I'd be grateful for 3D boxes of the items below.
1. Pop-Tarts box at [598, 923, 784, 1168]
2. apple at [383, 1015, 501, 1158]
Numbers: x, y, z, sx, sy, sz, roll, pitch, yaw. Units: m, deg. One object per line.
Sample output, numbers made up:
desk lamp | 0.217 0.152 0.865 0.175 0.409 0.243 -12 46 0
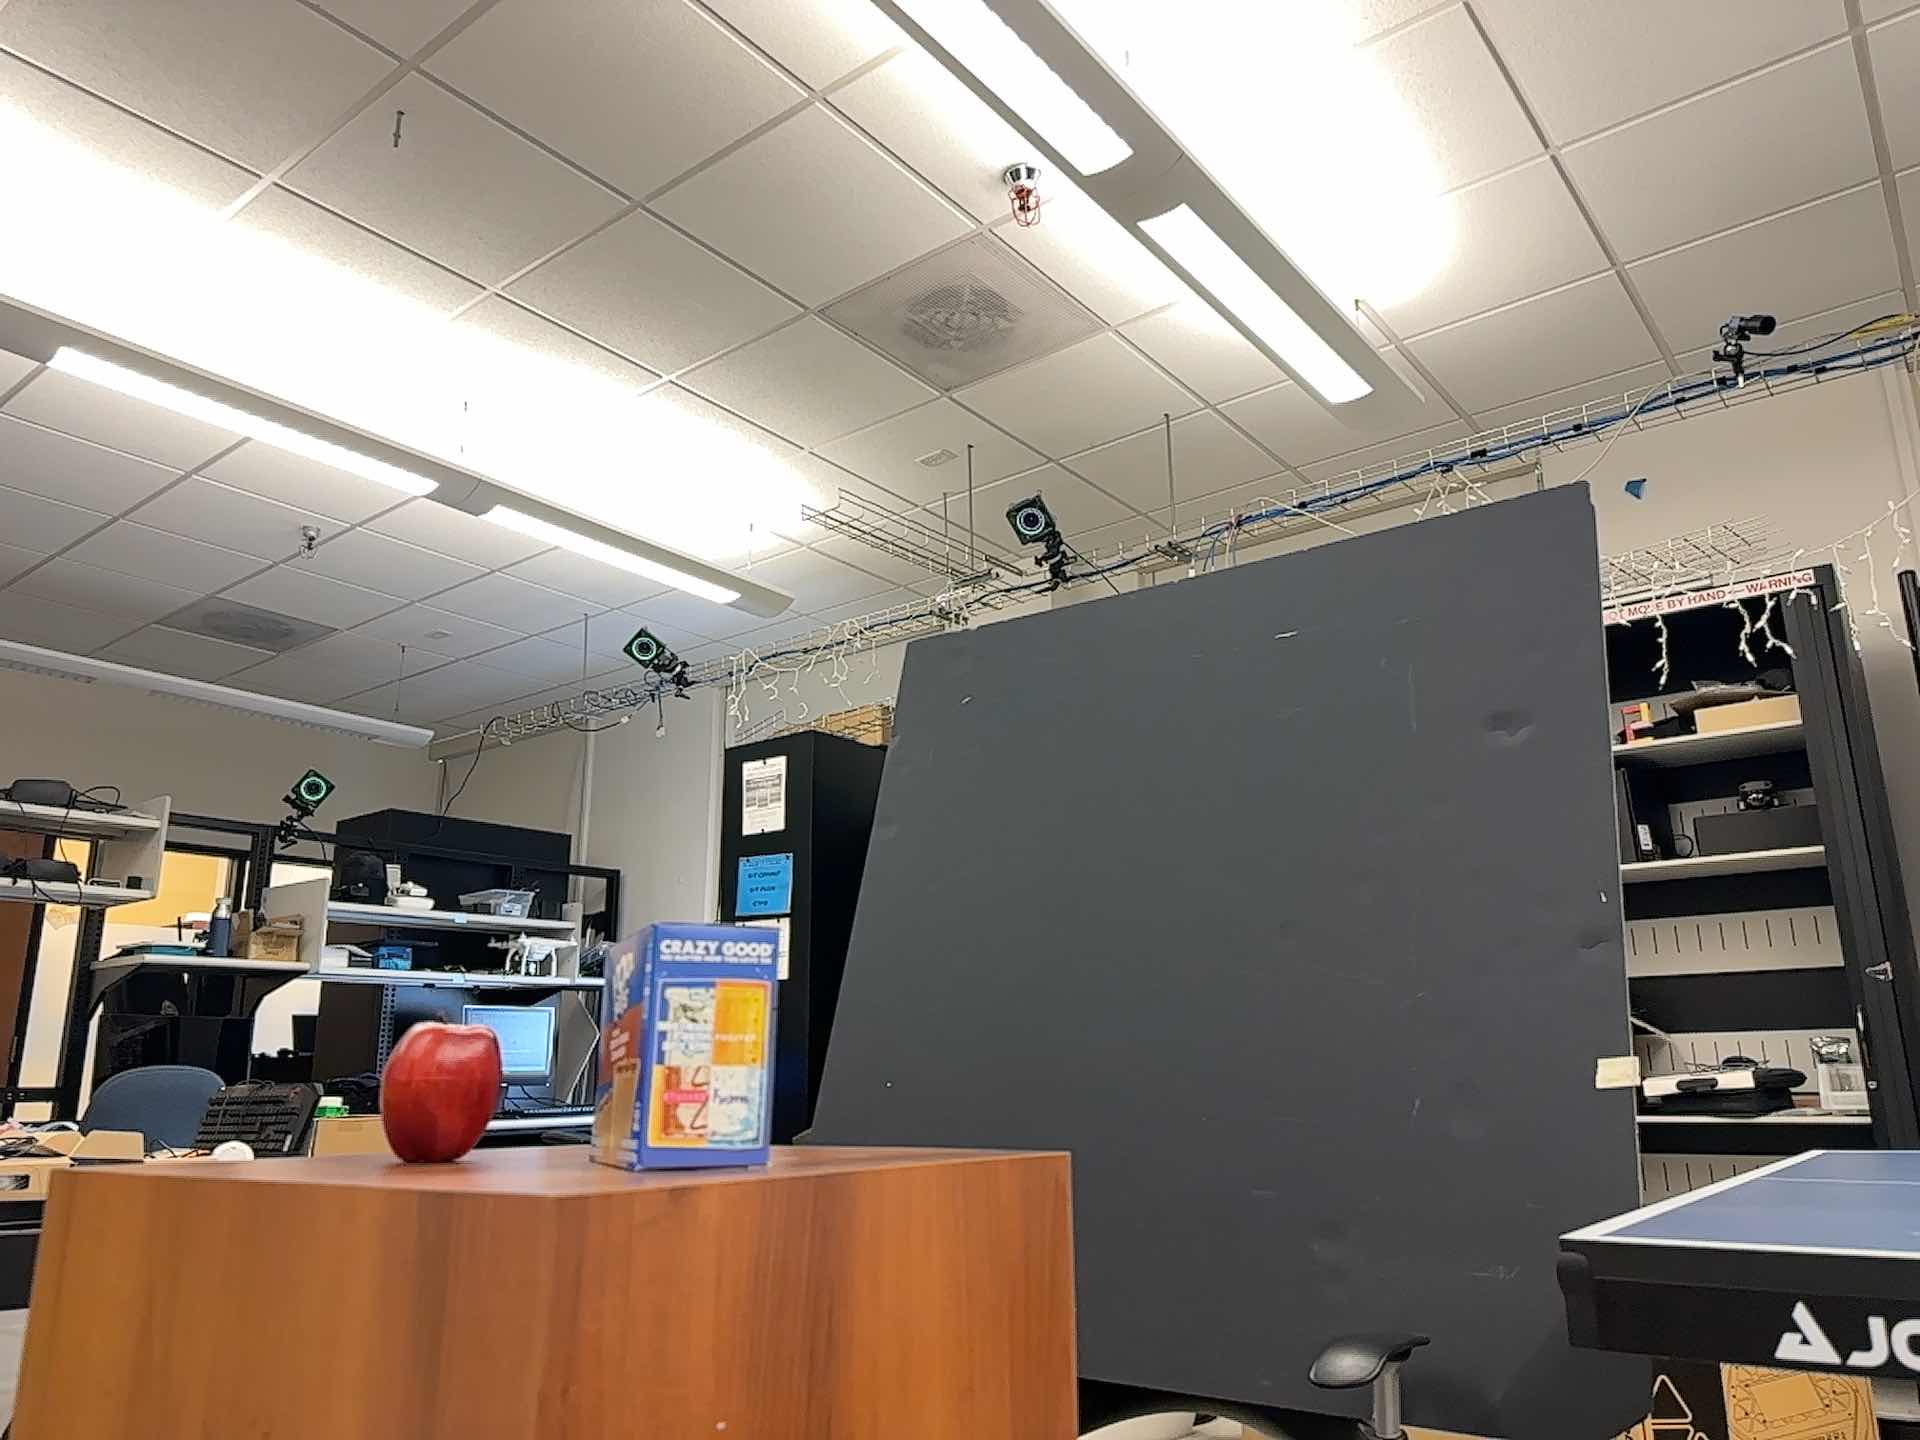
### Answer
Pop-Tarts box | -0.177 0.211 0.863 0.075 0.135 0.161 7 -17 -23
apple | -0.353 0.248 0.914 0.079 0.093 0.079 -1 -14 0
